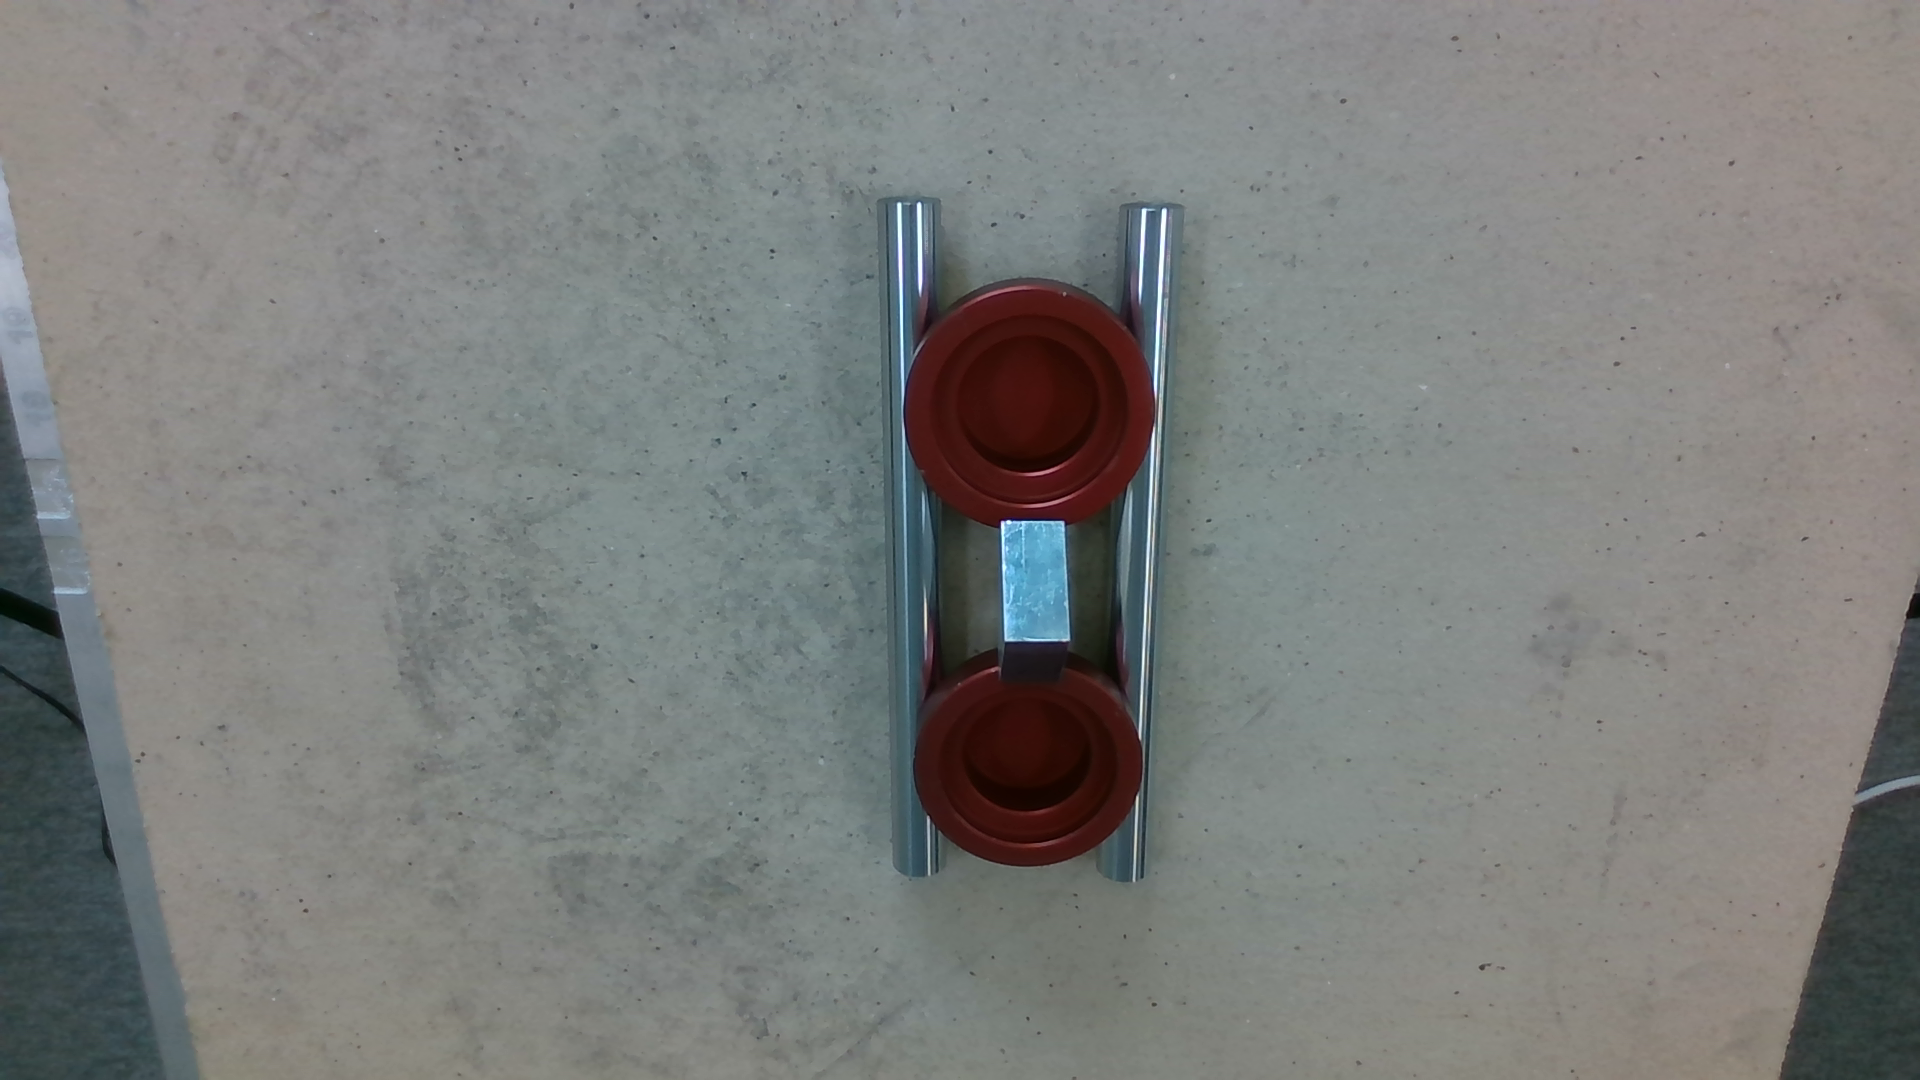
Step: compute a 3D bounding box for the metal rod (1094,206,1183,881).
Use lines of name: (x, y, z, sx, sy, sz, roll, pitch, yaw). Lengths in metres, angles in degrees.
metal rod: (0.074, 0.011, 0.589, 0.025, 0.025, 0.301, 0, 110, 0)

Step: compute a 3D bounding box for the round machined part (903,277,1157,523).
round machined part: (0.027, -0.057, 0.550, 0.098, 0.042, 0.098, 0, 110, 0)

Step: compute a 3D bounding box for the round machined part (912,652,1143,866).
round machined part: (0.029, 0.090, 0.604, 0.098, 0.042, 0.098, 0, 110, 0)

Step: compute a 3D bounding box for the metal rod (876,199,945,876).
metal rod: (-0.020, 0.008, 0.588, 0.025, 0.025, 0.301, 0, 110, 0)

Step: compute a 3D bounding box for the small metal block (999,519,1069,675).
small metal block: (0.028, 0.025, 0.553, 0.025, 0.050, 0.050, 0, 67, -1)
